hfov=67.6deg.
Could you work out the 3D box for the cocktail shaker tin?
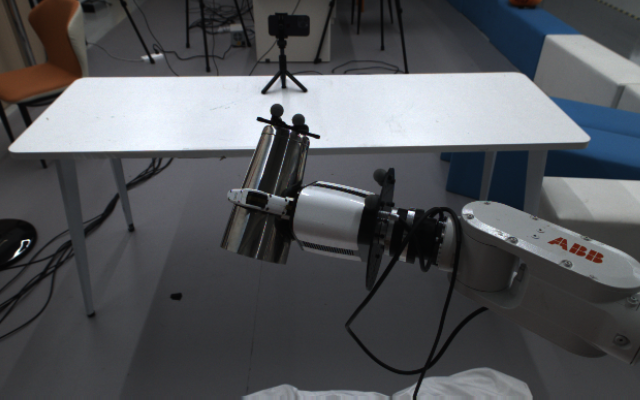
[{"bbox_3d":[-0.066,-0.008,0.651,0.093,0.170,0.093,15,-4,1],"label":"cocktail shaker tin"}]
